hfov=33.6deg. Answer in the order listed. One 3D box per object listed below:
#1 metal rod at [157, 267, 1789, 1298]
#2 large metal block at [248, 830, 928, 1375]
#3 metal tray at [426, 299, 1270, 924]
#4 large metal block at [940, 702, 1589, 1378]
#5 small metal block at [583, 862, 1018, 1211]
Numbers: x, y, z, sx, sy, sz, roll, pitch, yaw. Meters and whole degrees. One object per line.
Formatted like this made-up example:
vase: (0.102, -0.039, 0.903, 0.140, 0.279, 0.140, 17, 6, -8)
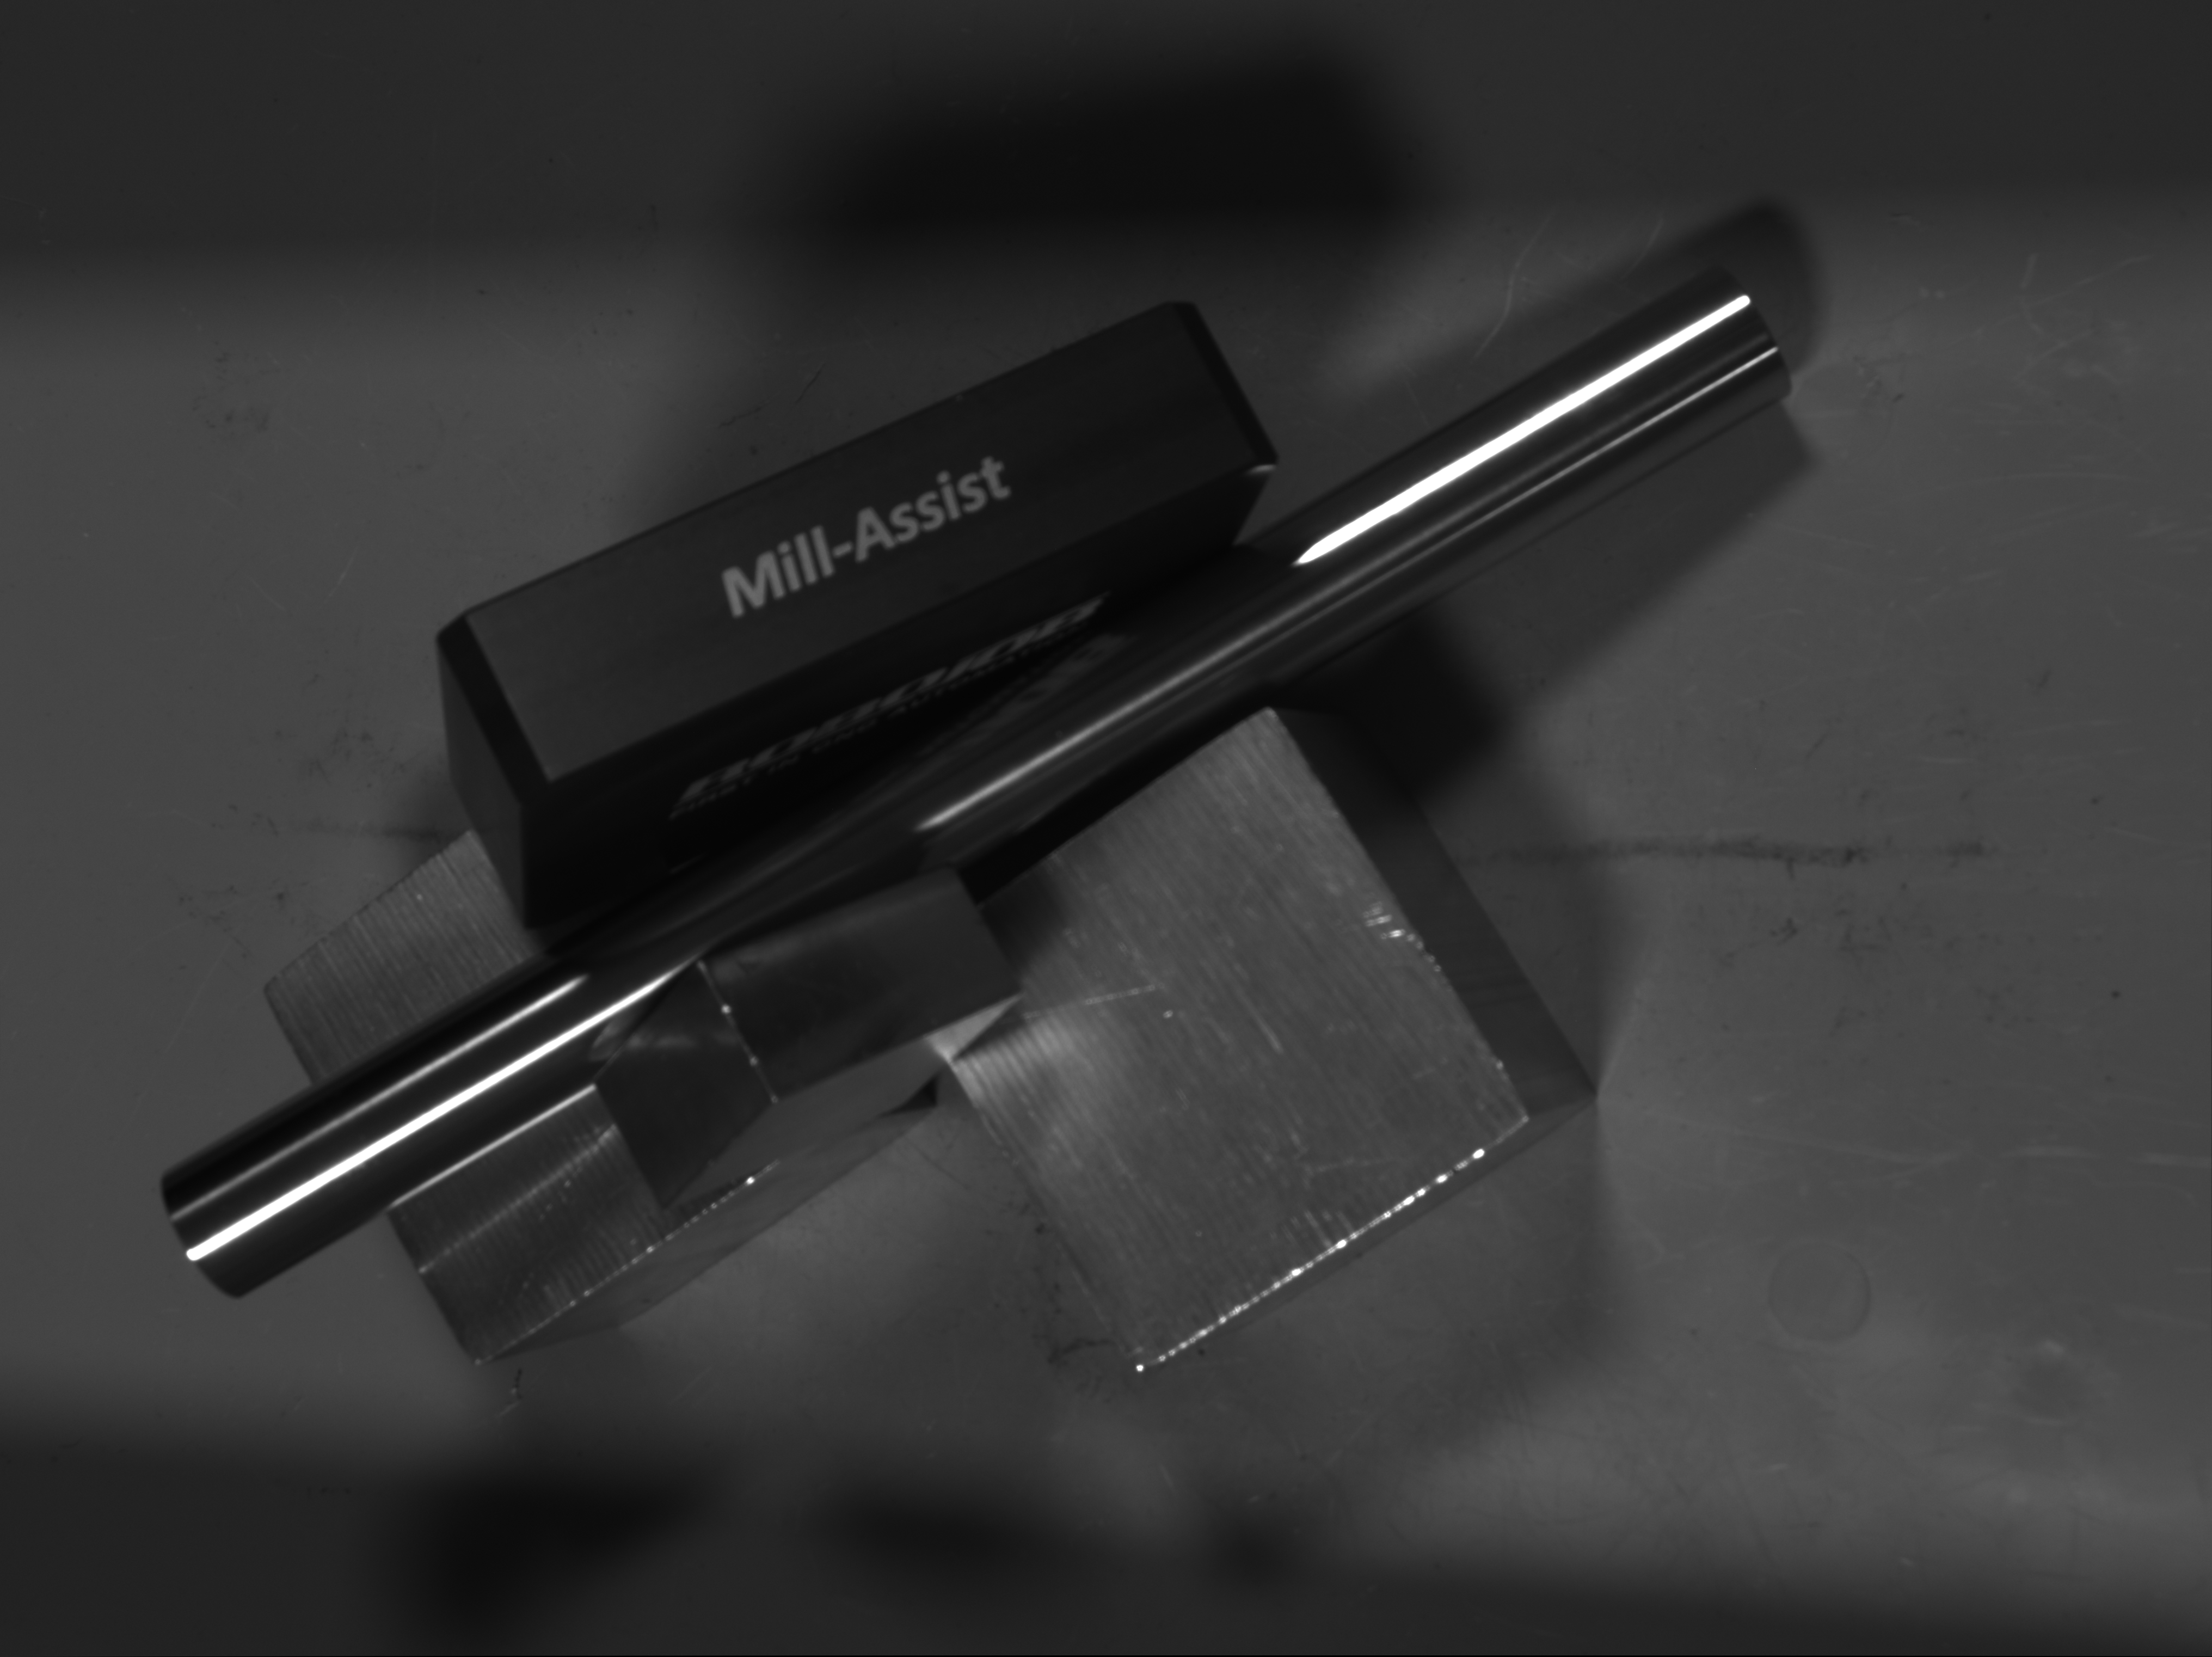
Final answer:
metal rod: (-0.023, -0.007, 0.612, 0.300, 0.025, 0.025, -30, 80, 2)
large metal block: (-0.093, 0.040, 0.661, 0.080, 0.050, 0.080, -35, 79, 16)
metal tray: (-0.044, -0.034, 0.596, 0.130, 0.090, 0.030, -26, 81, -15)
large metal block: (0.023, 0.035, 0.622, 0.080, 0.050, 0.080, -35, 79, 16)
small metal block: (-0.050, 0.034, 0.596, 0.025, 0.050, 0.050, 61, 144, 10)
